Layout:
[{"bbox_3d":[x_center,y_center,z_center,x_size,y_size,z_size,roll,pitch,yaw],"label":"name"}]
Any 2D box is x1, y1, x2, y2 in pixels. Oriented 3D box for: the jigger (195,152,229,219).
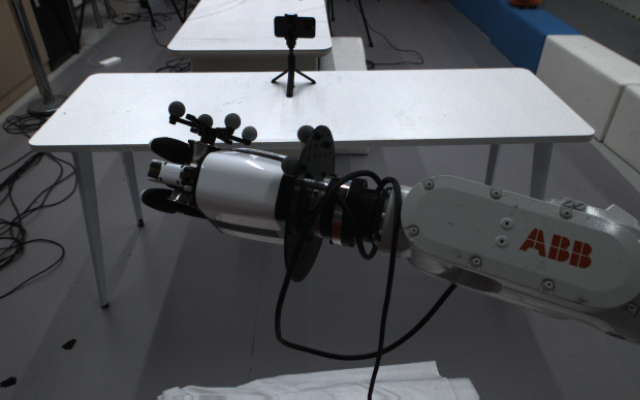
[{"bbox_3d":[-0.129,-0.026,0.522,0.043,0.071,0.043,15,-7,2],"label":"jigger"}]
